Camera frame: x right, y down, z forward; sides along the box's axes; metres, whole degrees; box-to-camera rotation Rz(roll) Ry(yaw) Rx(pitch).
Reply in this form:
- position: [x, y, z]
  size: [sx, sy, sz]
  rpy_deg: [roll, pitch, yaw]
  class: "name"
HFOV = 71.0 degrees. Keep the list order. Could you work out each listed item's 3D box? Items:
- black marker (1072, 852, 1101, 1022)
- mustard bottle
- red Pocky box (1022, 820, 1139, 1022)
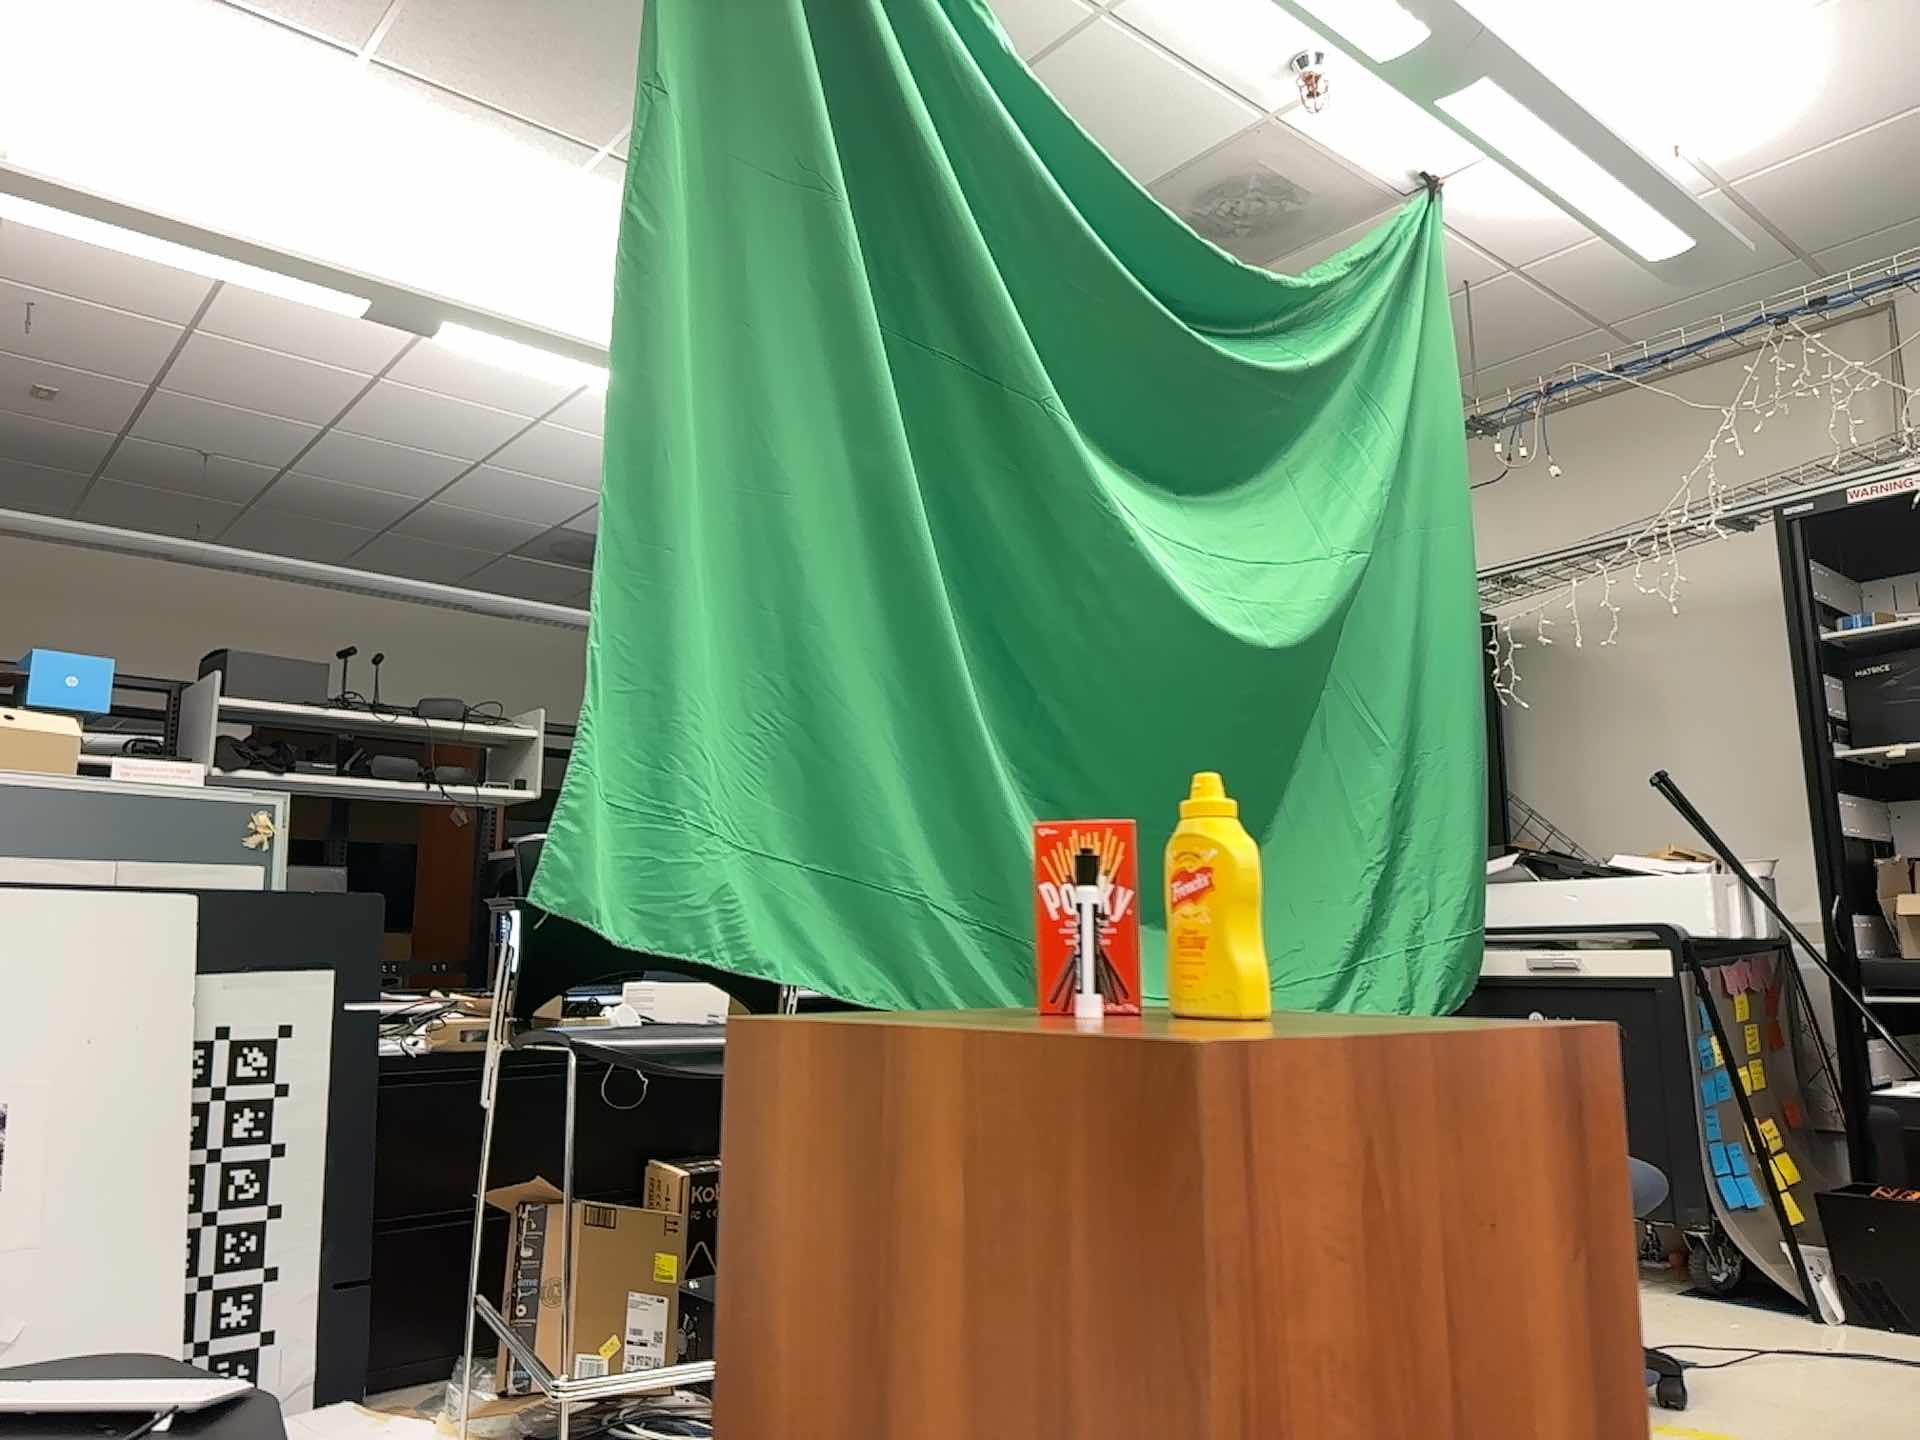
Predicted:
- position: [0.092, 0.156, 0.975]
  size: [0.020, 0.121, 0.020]
  rpy_deg: [2, -10, 0]
  class: "black marker"
- position: [0.183, 0.129, 0.992]
  size: [0.054, 0.184, 0.092]
  rpy_deg: [1, -9, -21]
  class: "mustard bottle"
- position: [0.093, 0.157, 1.054]
  size: [0.083, 0.155, 0.028]
  rpy_deg: [-5, -8, 13]
  class: "red Pocky box"
